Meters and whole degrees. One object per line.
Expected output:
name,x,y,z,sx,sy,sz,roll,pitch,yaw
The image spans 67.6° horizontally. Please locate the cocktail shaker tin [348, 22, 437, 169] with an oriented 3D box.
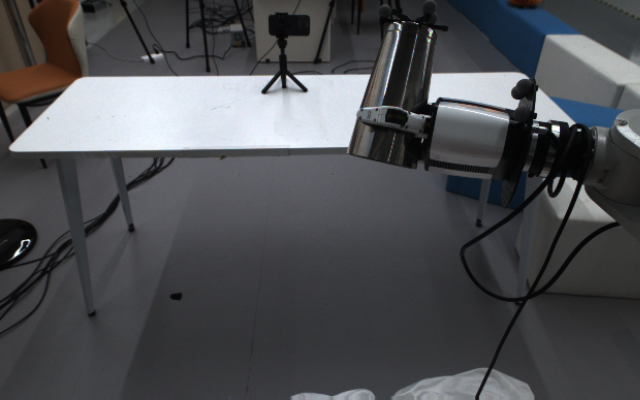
cocktail shaker tin,0.098,-0.132,0.622,0.093,0.170,0.093,13,4,-1
